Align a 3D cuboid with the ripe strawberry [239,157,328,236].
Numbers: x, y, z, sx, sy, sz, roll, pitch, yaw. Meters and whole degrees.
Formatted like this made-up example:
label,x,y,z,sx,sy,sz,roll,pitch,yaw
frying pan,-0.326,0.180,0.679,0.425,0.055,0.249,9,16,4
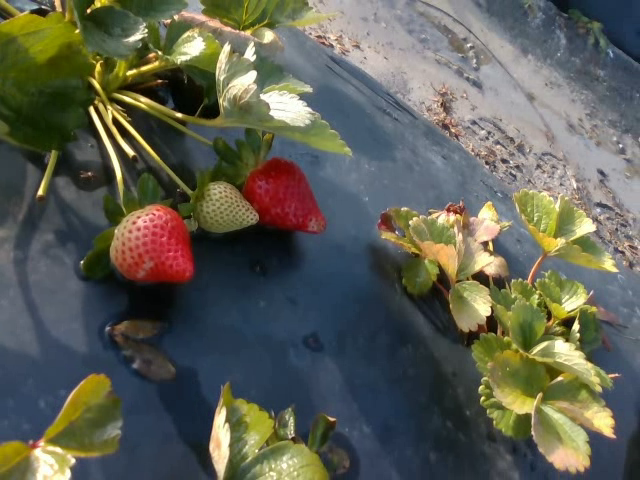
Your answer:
label,x,y,z,sx,sy,sz,roll,pitch,yaw
ripe strawberry,-0.018,-0.023,0.380,0.048,0.065,0.050,-43,0,-4
